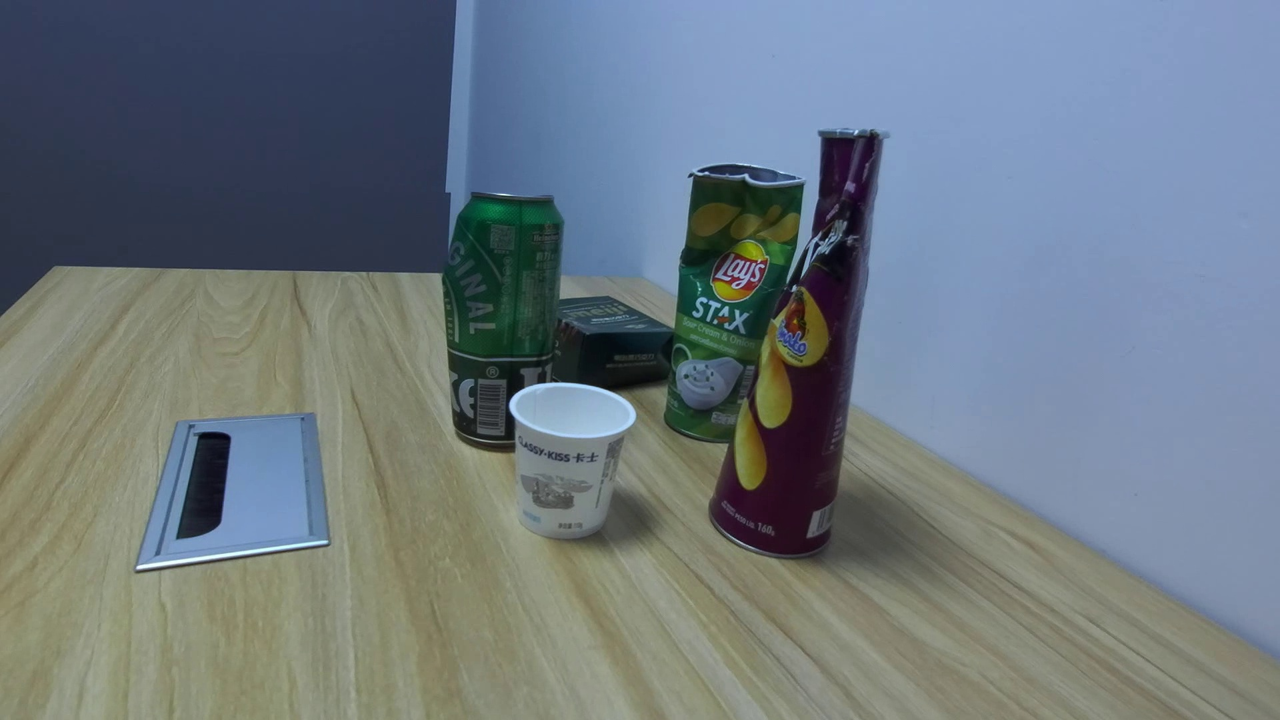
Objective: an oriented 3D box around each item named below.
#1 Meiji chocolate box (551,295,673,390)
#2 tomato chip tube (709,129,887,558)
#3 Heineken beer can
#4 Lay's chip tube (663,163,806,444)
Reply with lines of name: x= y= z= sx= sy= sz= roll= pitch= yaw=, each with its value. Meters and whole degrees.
Meiji chocolate box: x=-0.039 y=-0.016 z=0.646 sx=0.116 sy=0.058 sz=0.122 roll=-7 pitch=23 yaw=-39
tomato chip tube: x=0.094 y=-0.009 z=0.397 sx=0.077 sy=0.235 sz=0.090 roll=24 pitch=28 yaw=40
Heineken beer can: x=-0.091 y=-0.026 z=0.481 sx=0.068 sy=0.168 sz=0.069 roll=9 pitch=15 yaw=11
Lay's chip tube: x=0.065 y=-0.041 z=0.527 sx=0.077 sy=0.201 sz=0.069 roll=5 pitch=18 yaw=-1
